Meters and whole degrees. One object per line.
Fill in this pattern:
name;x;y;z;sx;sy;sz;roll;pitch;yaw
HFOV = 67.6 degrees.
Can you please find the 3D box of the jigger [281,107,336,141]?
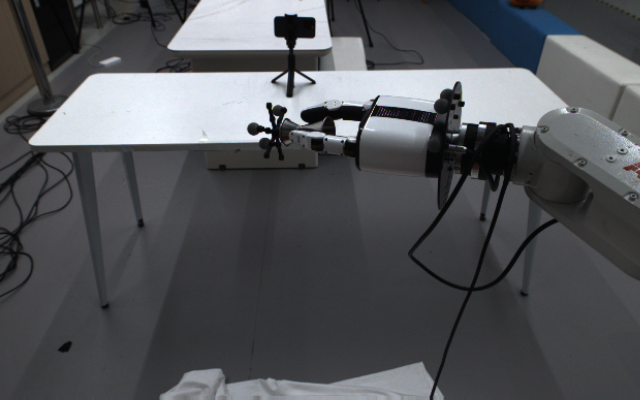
jigger;-0.011;-0.100;0.674;0.071;0.043;0.043;3;32;26
